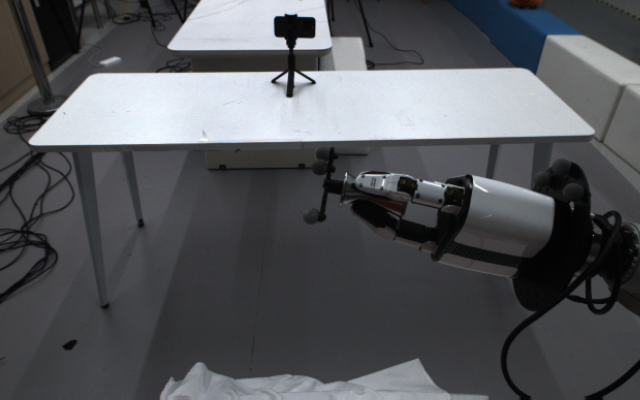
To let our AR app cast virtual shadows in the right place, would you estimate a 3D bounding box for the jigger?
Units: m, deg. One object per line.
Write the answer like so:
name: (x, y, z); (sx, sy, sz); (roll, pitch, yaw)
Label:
jigger: (0.062, -0.011, 0.519); (0.071, 0.043, 0.043); (10, 35, 2)
